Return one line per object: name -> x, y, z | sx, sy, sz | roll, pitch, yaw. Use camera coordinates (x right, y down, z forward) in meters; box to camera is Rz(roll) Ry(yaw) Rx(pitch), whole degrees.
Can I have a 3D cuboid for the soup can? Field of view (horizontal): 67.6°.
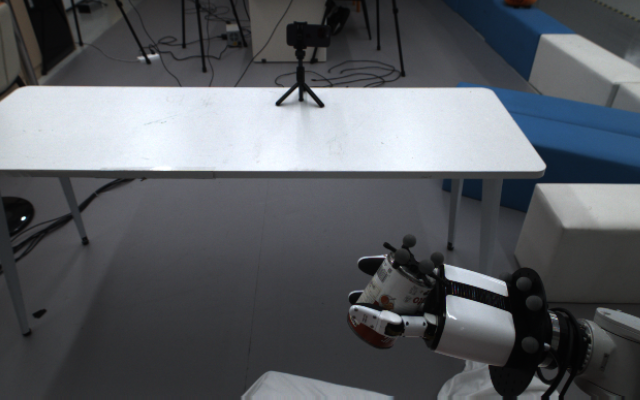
soup can -> 0.088, 0.121, 0.594 | 0.067, 0.101, 0.067 | 27, 18, -10
